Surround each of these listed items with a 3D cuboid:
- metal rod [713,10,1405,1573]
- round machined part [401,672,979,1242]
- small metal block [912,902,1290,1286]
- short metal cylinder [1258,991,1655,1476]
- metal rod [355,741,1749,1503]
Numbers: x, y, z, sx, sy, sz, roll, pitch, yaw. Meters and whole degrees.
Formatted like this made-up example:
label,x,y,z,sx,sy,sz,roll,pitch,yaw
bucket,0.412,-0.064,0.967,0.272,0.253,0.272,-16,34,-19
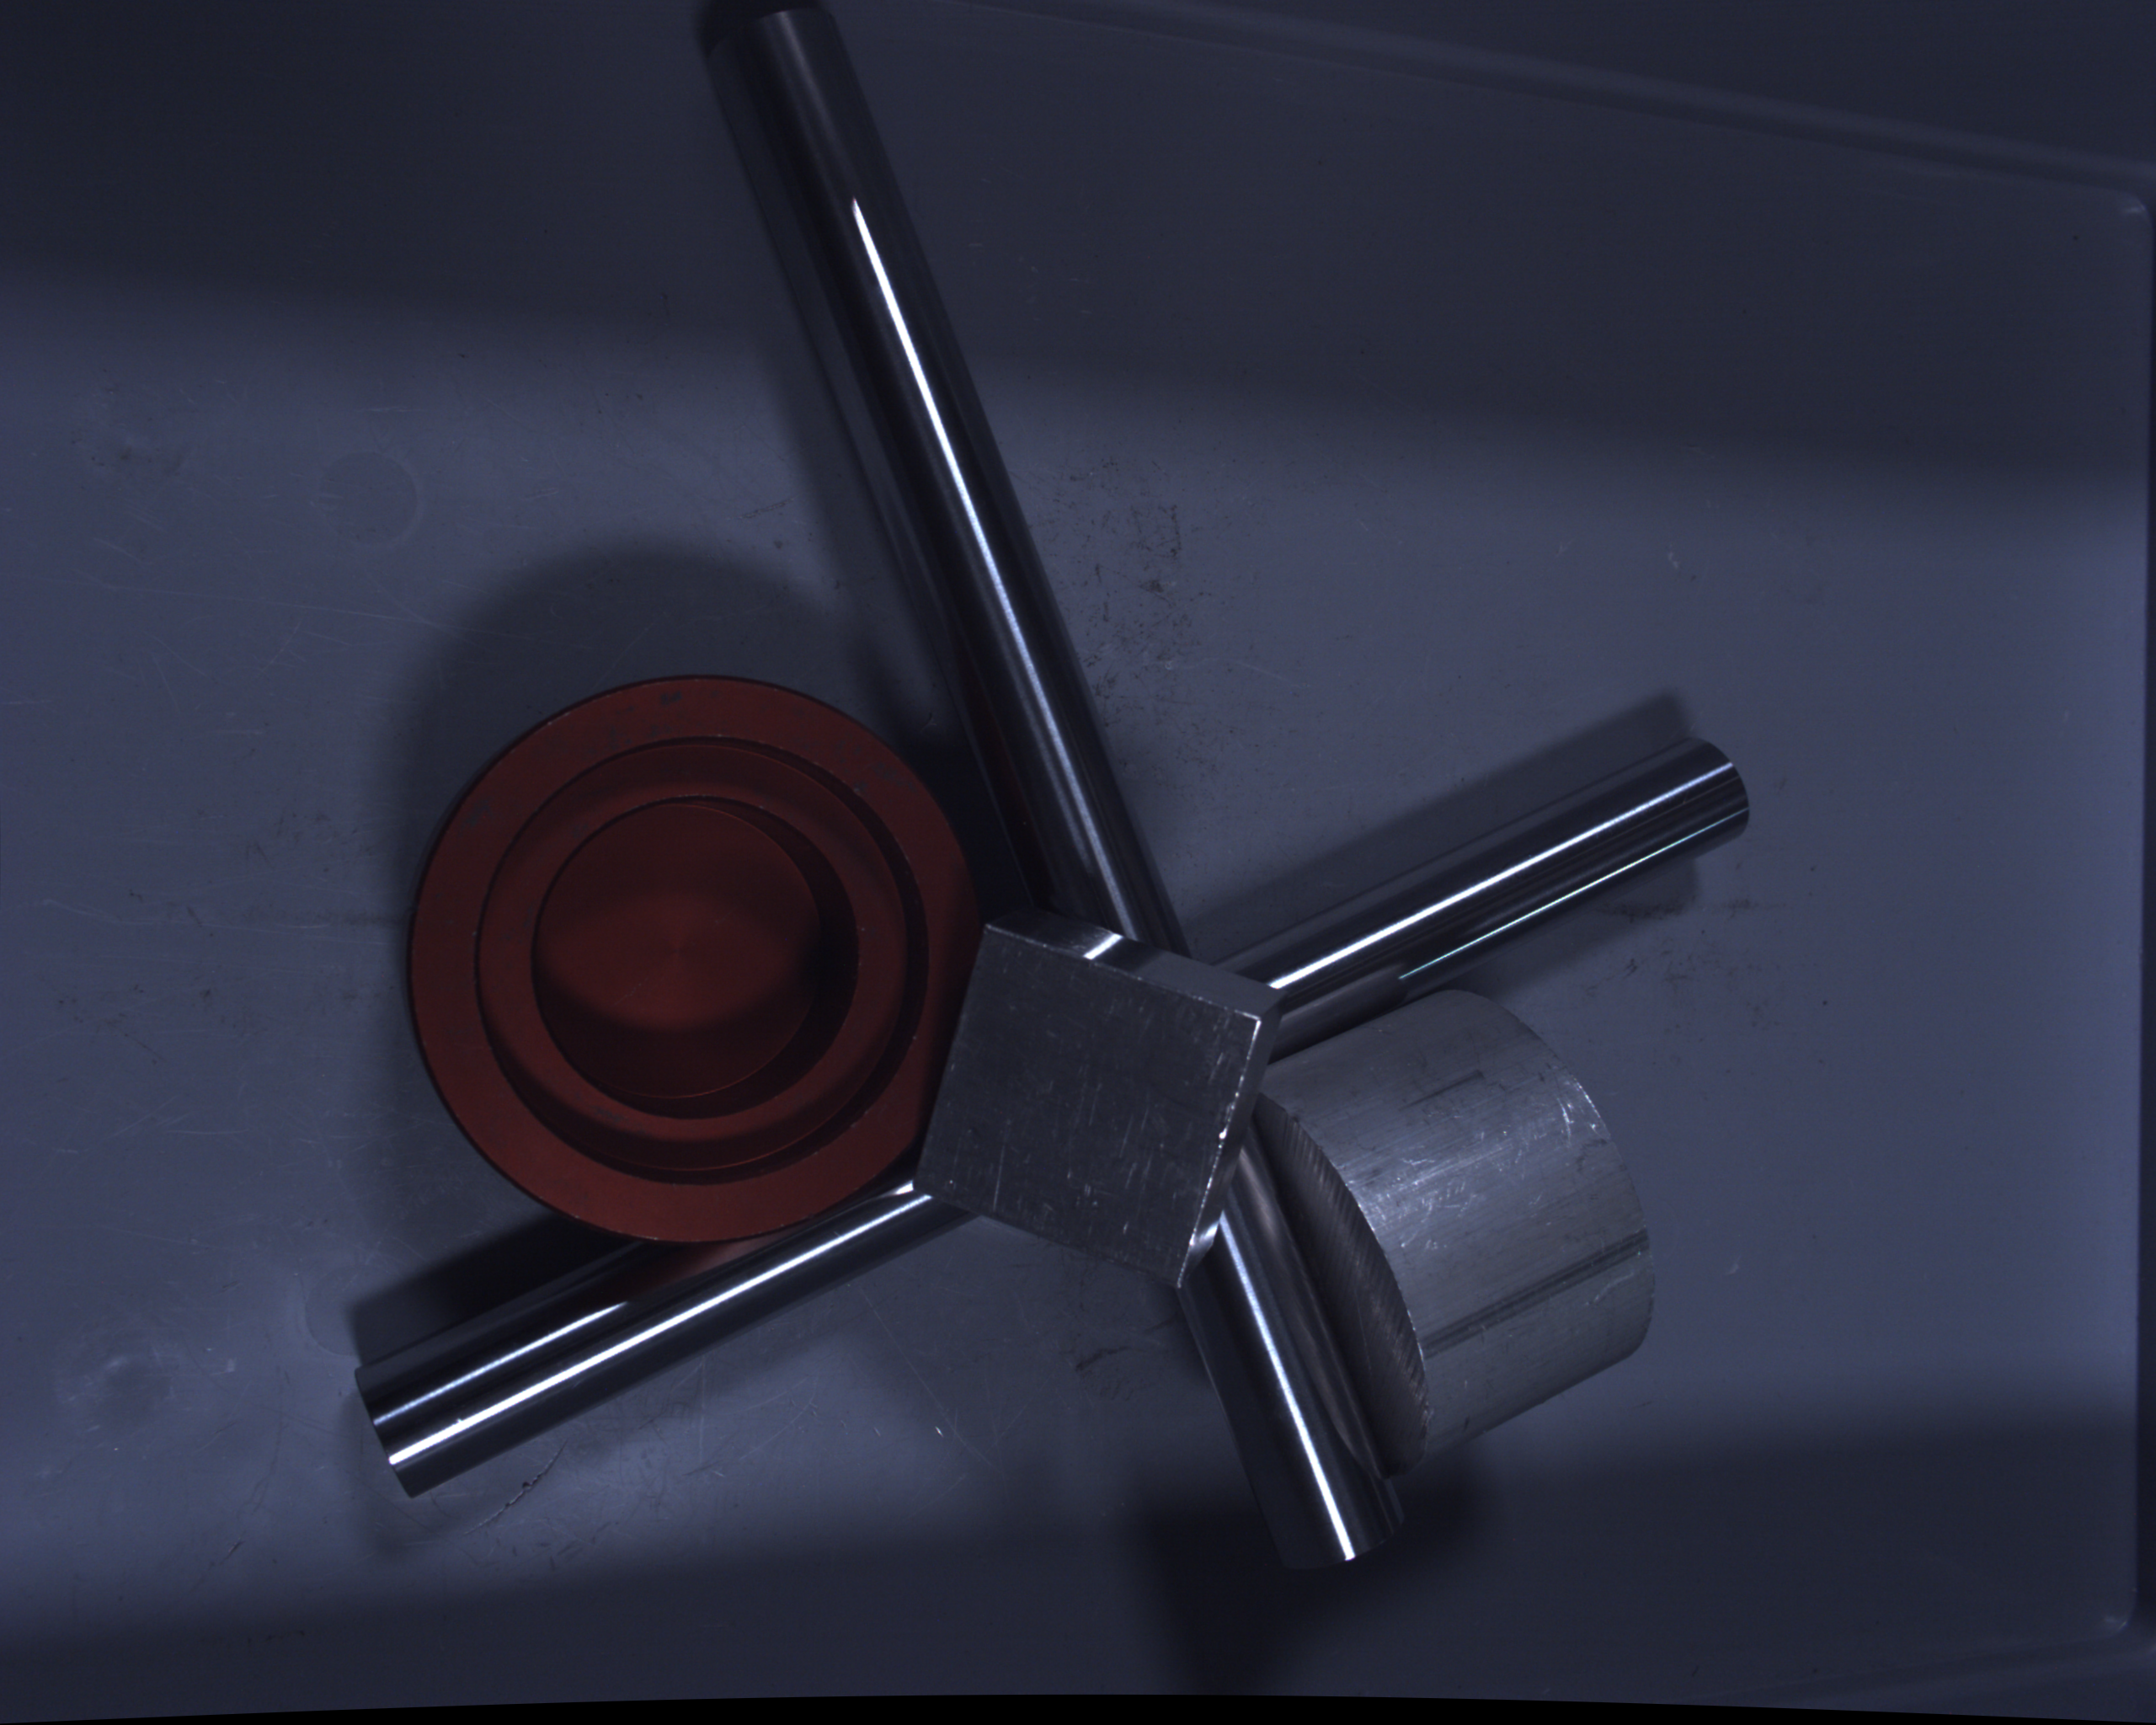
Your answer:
label,x,y,z,sx,sy,sz,roll,pitch,yaw
metal rod,-0.003,-0.013,0.390,0.025,0.025,0.299,-21,90,-19
round machined part,-0.071,0.016,0.375,0.099,0.042,0.097,0,90,-21
small metal block,0.004,0.040,0.368,0.050,0.025,0.050,18,101,13
short metal cylinder,0.065,0.071,0.405,0.050,0.080,0.080,-21,97,-19
metal rod,0.009,0.043,0.414,0.302,0.025,0.025,-24,98,-19
